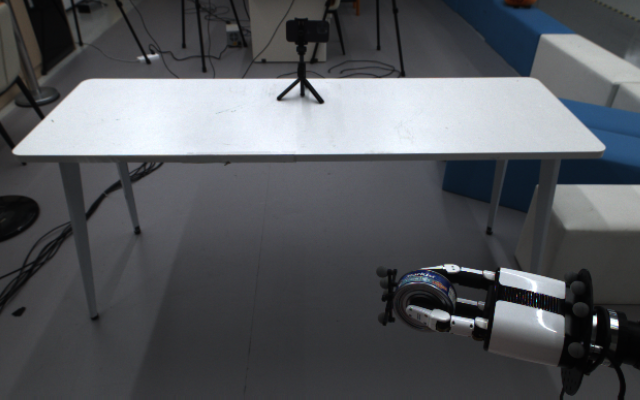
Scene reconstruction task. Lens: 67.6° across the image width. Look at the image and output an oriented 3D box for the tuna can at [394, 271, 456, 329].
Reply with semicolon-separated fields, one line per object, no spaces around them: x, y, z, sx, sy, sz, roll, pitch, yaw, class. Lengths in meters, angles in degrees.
0.148;0.137;0.674;0.085;0.085;0.034;12;27;15;tuna can
